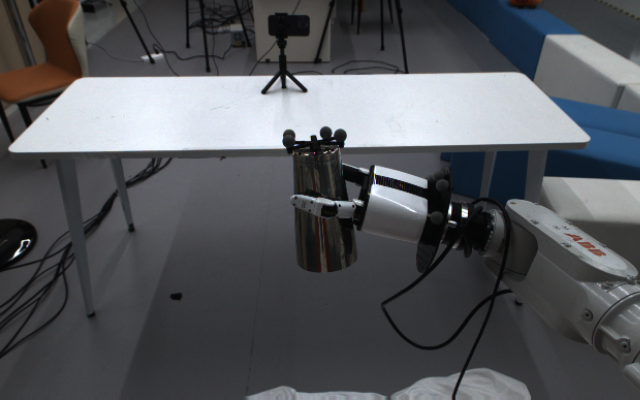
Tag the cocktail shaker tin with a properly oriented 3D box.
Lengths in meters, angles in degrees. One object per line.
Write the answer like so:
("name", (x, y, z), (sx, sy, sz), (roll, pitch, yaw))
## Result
("cocktail shaker tin", (0.002, 0.008, 0.700), (0.093, 0.170, 0.093), (-6, 19, 2))
